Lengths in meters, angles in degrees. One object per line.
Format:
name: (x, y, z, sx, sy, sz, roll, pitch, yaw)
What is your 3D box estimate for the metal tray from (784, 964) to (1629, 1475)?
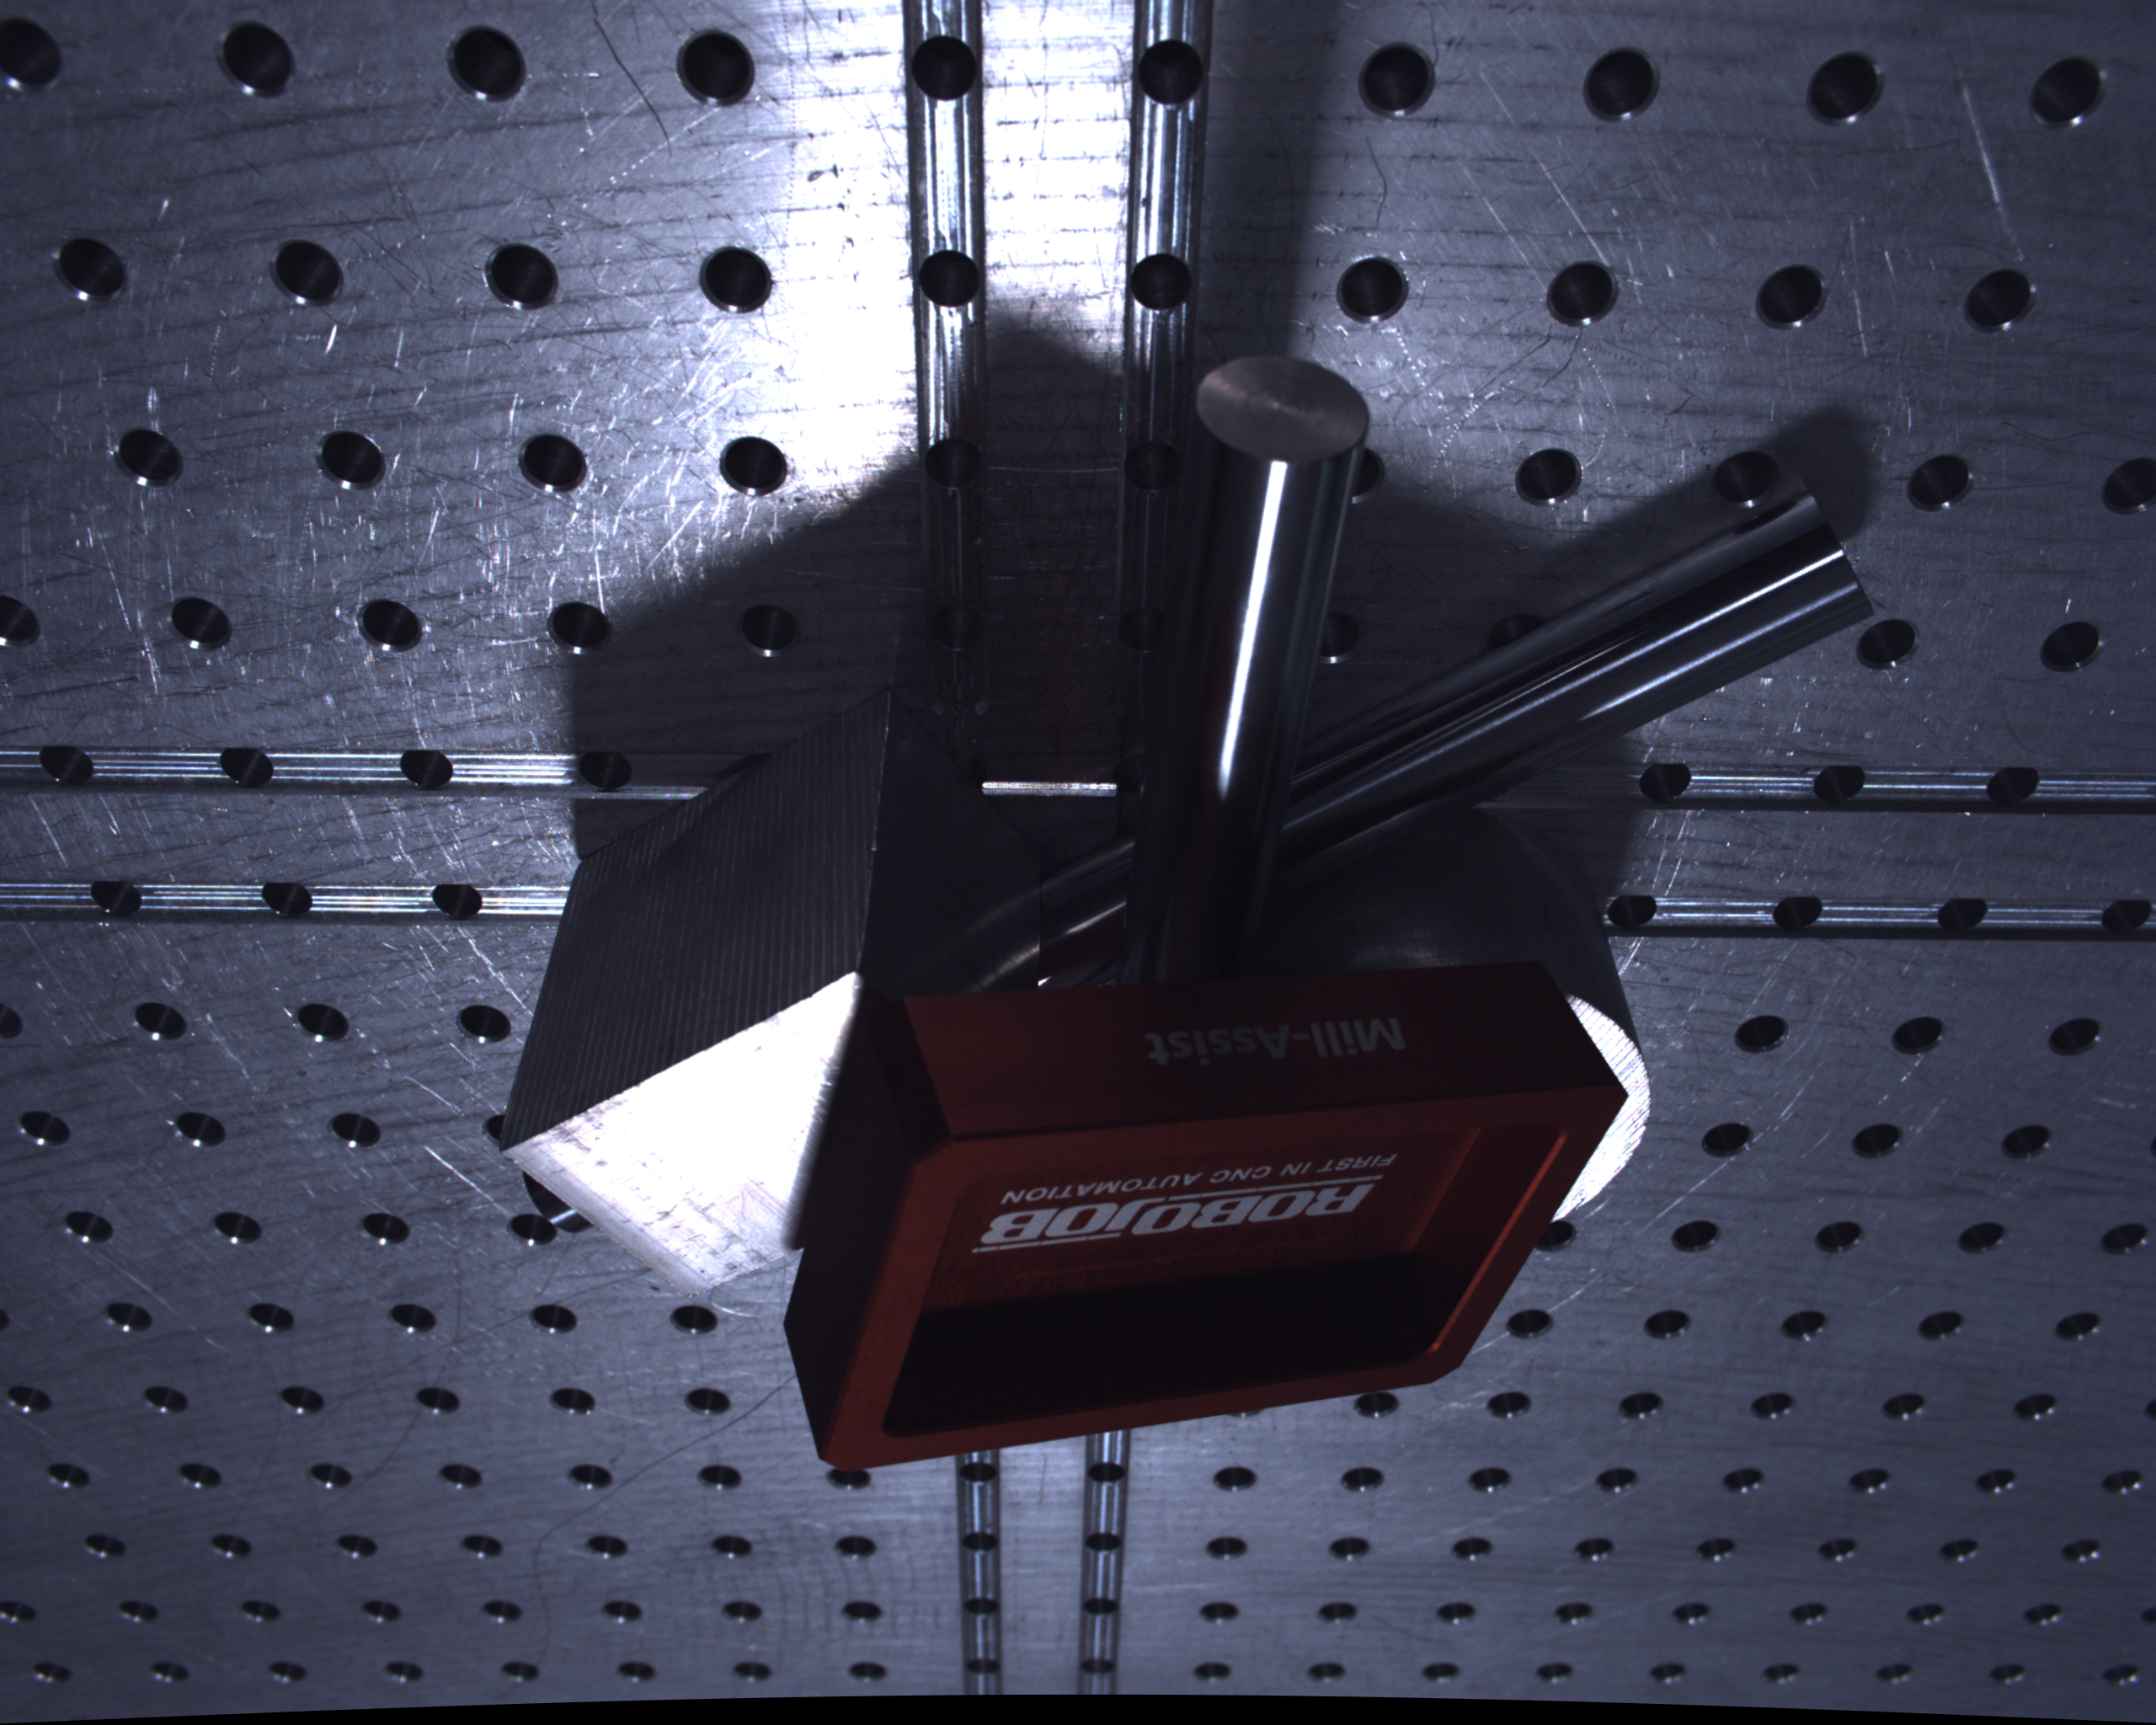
metal tray: (0.021, 0.062, 0.369, 0.131, 0.030, 0.089, -2, 133, -24)

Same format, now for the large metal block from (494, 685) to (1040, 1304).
large metal block: (-0.055, 0.025, 0.395, 0.080, 0.080, 0.050, -27, 125, 21)

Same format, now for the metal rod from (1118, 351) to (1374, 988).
metal rod: (0.019, 0.031, 0.409, 0.025, 0.025, 0.298, 3, 140, -3)

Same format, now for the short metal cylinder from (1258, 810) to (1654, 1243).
short metal cylinder: (0.071, 0.035, 0.425, 0.081, 0.050, 0.079, 0, 130, 0)

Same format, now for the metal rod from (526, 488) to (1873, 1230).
metal rod: (0.009, 0.008, 0.419, 0.300, 0.025, 0.025, -27, 126, 20)
